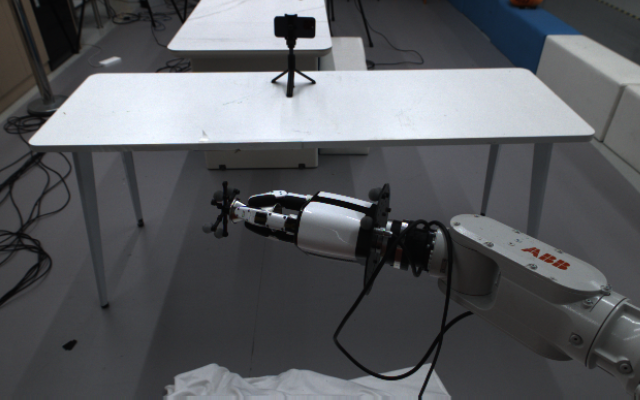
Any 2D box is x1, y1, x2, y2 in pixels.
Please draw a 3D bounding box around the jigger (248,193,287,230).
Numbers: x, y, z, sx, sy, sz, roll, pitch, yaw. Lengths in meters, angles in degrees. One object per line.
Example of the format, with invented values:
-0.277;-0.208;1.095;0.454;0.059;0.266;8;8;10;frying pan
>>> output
-0.090;0.017;0.723;0.071;0.043;0.043;8;35;15;jigger
